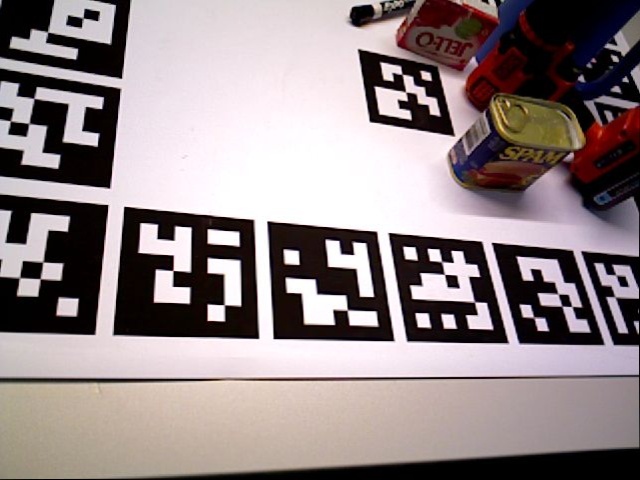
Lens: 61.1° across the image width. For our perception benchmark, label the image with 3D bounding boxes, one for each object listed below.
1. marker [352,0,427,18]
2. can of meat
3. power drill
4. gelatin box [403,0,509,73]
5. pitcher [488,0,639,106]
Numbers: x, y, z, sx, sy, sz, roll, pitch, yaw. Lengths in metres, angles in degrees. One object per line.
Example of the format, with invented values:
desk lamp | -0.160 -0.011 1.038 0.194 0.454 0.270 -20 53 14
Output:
marker | 0.086 -0.274 0.625 0.118 0.020 0.019 -23 75 -29
can of meat | 0.193 -0.087 0.534 0.100 0.086 0.057 4 61 -21
power drill | 0.266 -0.160 0.544 0.187 0.188 0.056 39 58 -7
gelatin box | 0.149 -0.231 0.600 0.088 0.075 0.030 16 63 -16
pitcher | 0.310 -0.258 0.584 0.188 0.248 0.130 30 60 3
